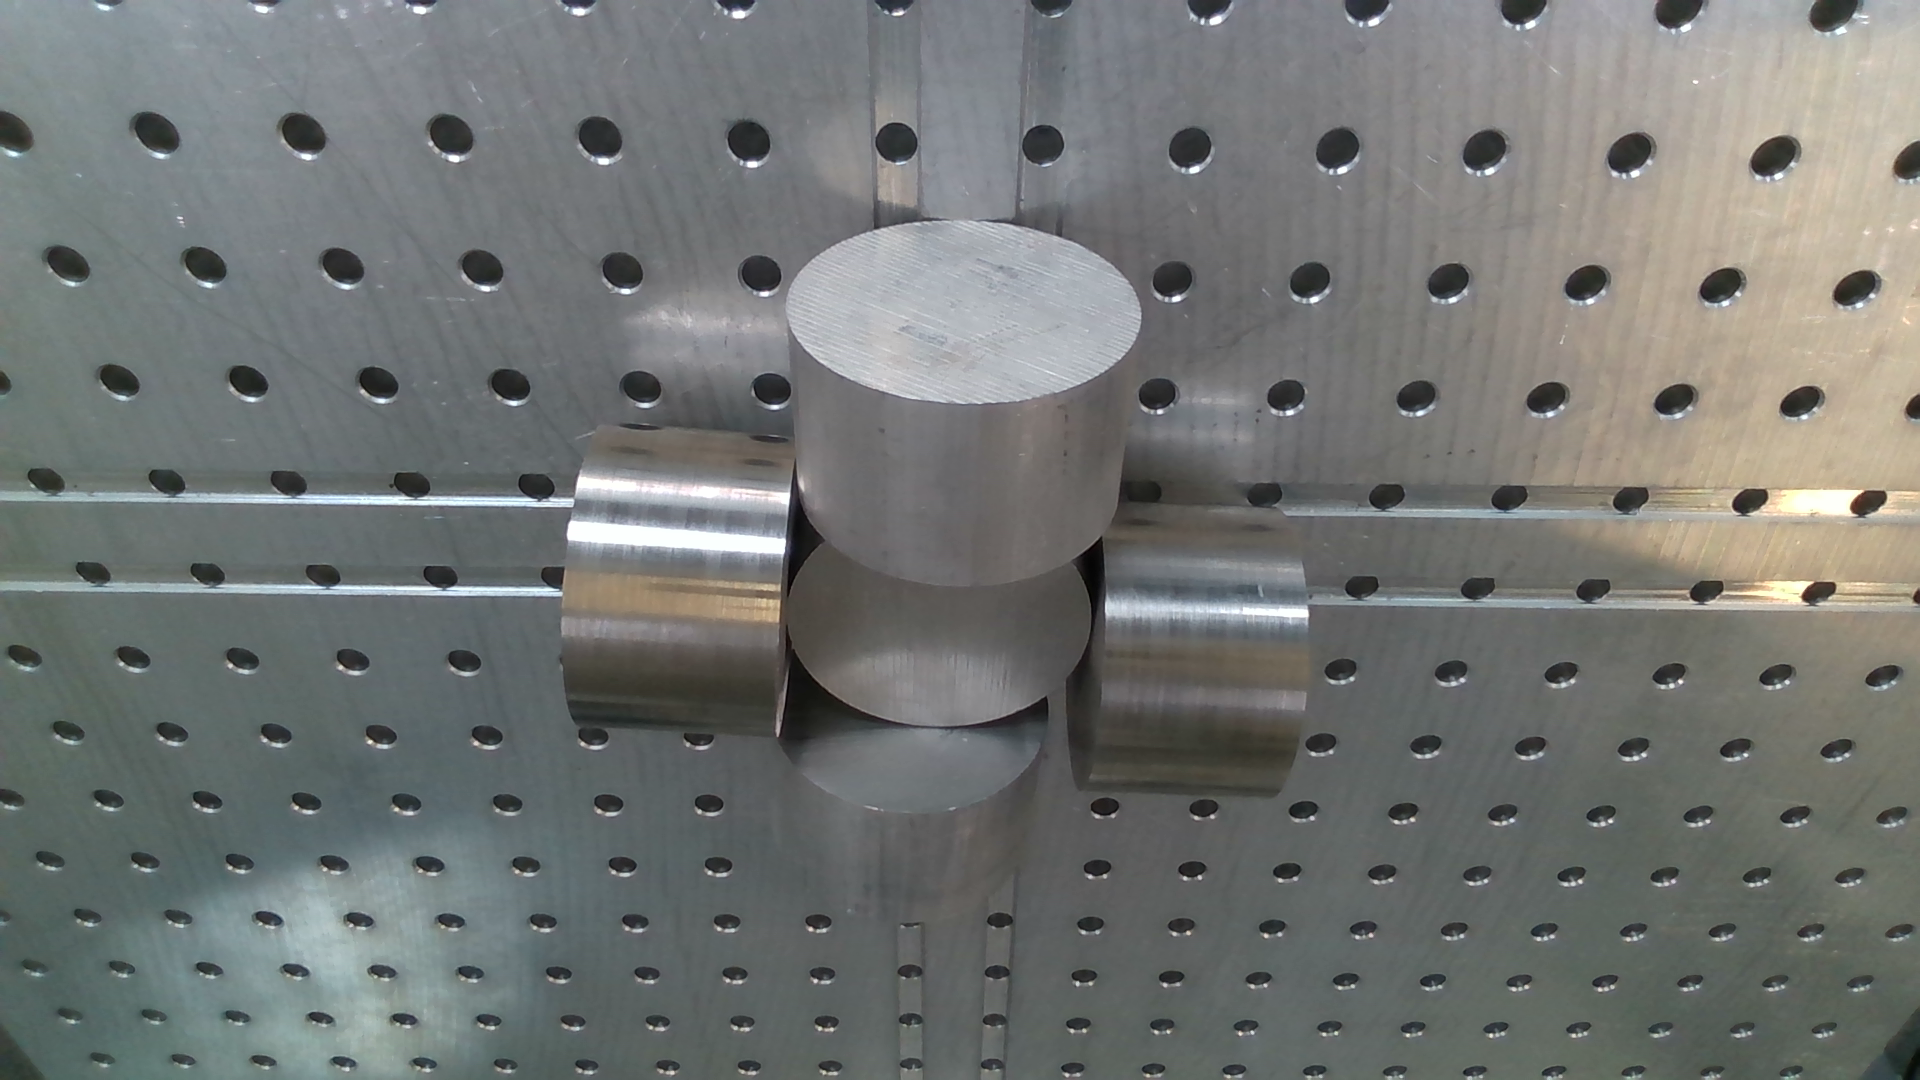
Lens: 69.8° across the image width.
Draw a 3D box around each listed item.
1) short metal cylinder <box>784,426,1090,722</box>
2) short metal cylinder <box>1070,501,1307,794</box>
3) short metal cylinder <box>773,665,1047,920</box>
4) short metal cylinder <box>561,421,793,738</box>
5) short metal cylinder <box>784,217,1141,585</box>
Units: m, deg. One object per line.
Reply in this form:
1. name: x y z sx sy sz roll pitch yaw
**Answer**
1. short metal cylinder: -0.006 0.005 0.380 0.080 0.050 0.080 0 131 0
2. short metal cylinder: 0.059 0.029 0.380 0.050 0.080 0.080 2 130 -2
3. short metal cylinder: -0.017 0.065 0.411 0.080 0.080 0.050 3 130 -2
4. short metal cylinder: -0.071 0.010 0.363 0.050 0.080 0.080 4 130 -4
5. short metal cylinder: 0.000 -0.035 0.326 0.080 0.080 0.050 1 131 -1
